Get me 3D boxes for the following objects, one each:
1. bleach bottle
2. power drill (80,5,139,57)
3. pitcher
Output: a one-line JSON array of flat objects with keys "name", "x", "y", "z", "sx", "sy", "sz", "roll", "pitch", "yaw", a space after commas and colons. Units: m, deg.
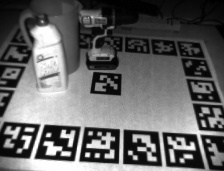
[{"name": "bleach bottle", "x": -0.199, "y": -0.117, "z": 0.619, "sx": 0.103, "sy": 0.252, "sz": 0.067, "roll": -3, "pitch": 51, "yaw": -5}, {"name": "power drill", "x": -0.015, "y": -0.178, "z": 0.723, "sx": 0.185, "sy": 0.187, "sz": 0.057, "roll": 3, "pitch": 53, "yaw": -9}, {"name": "pitcher", "x": -0.183, "y": -0.181, "z": 0.699, "sx": 0.190, "sy": 0.243, "sz": 0.132, "roll": -18, "pitch": 55, "yaw": -17}]
